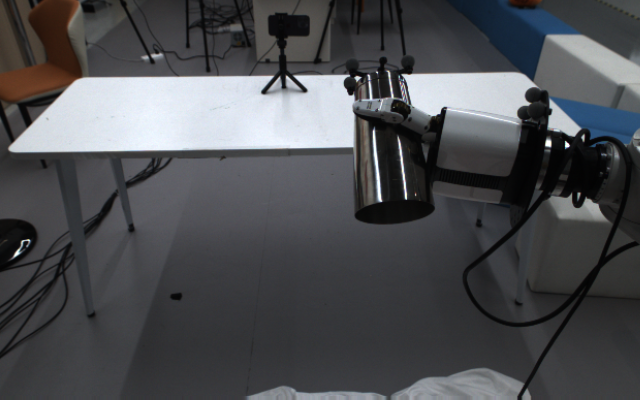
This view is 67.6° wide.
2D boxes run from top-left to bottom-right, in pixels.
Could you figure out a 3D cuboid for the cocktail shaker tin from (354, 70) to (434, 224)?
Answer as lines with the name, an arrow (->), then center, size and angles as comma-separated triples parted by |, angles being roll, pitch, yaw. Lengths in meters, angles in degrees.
cocktail shaker tin -> 0.081, -0.065, 0.582 | 0.093, 0.093, 0.170 | -2, 71, -6
